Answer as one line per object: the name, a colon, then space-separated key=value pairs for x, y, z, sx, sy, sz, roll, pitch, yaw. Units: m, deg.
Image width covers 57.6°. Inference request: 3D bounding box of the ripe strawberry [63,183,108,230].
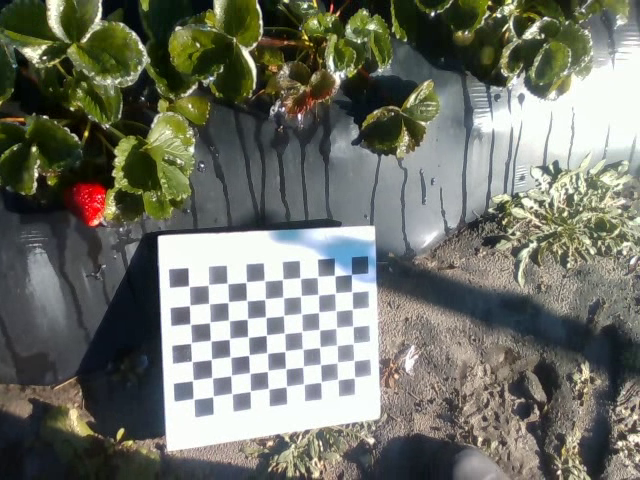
ripe strawberry: x=-0.216 y=-0.033 z=0.542 sx=0.041 sy=0.053 sz=0.047 roll=-10 pitch=-32 yaw=-16
